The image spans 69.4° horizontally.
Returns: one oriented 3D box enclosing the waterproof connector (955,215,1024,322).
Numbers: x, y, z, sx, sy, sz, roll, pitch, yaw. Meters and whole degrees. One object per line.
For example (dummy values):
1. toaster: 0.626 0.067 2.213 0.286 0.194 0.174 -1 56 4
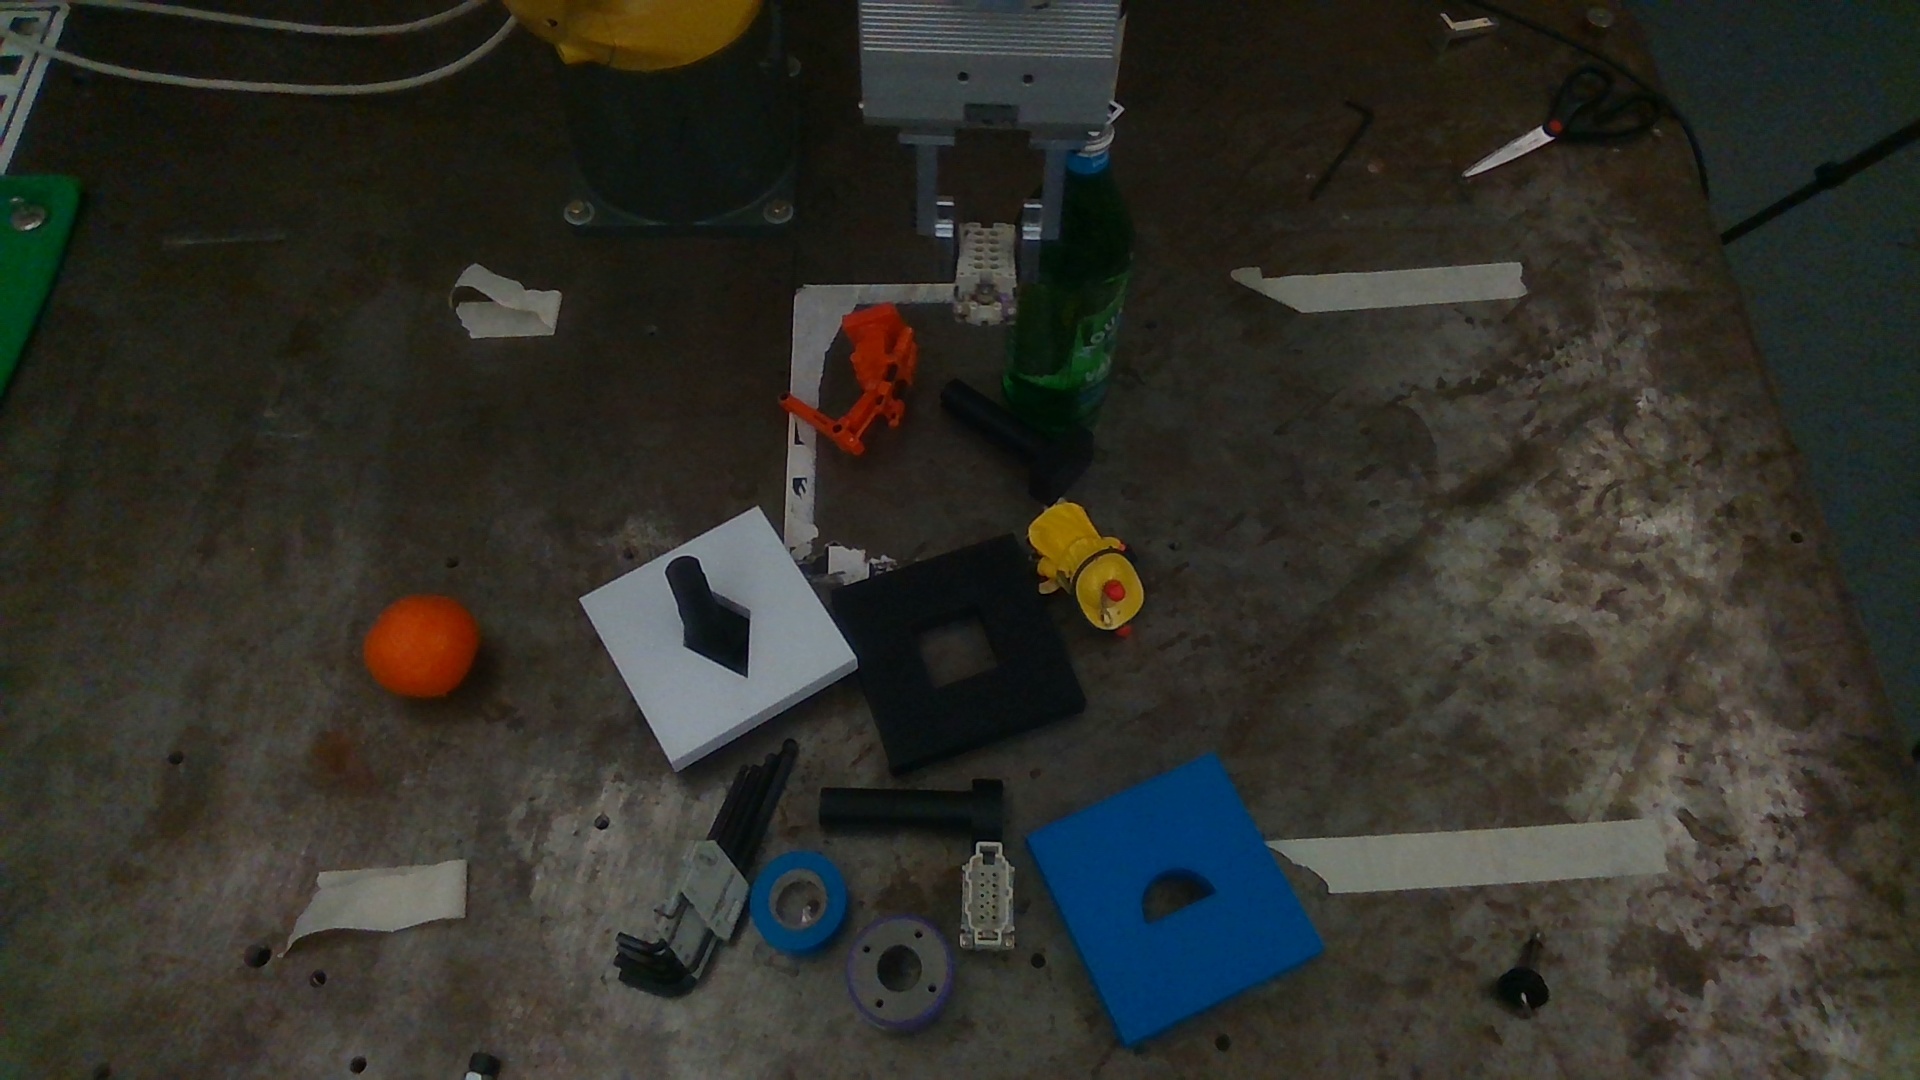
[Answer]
1. waterproof connector: 0.017 -0.154 0.787 0.037 0.038 0.069 1 53 4
